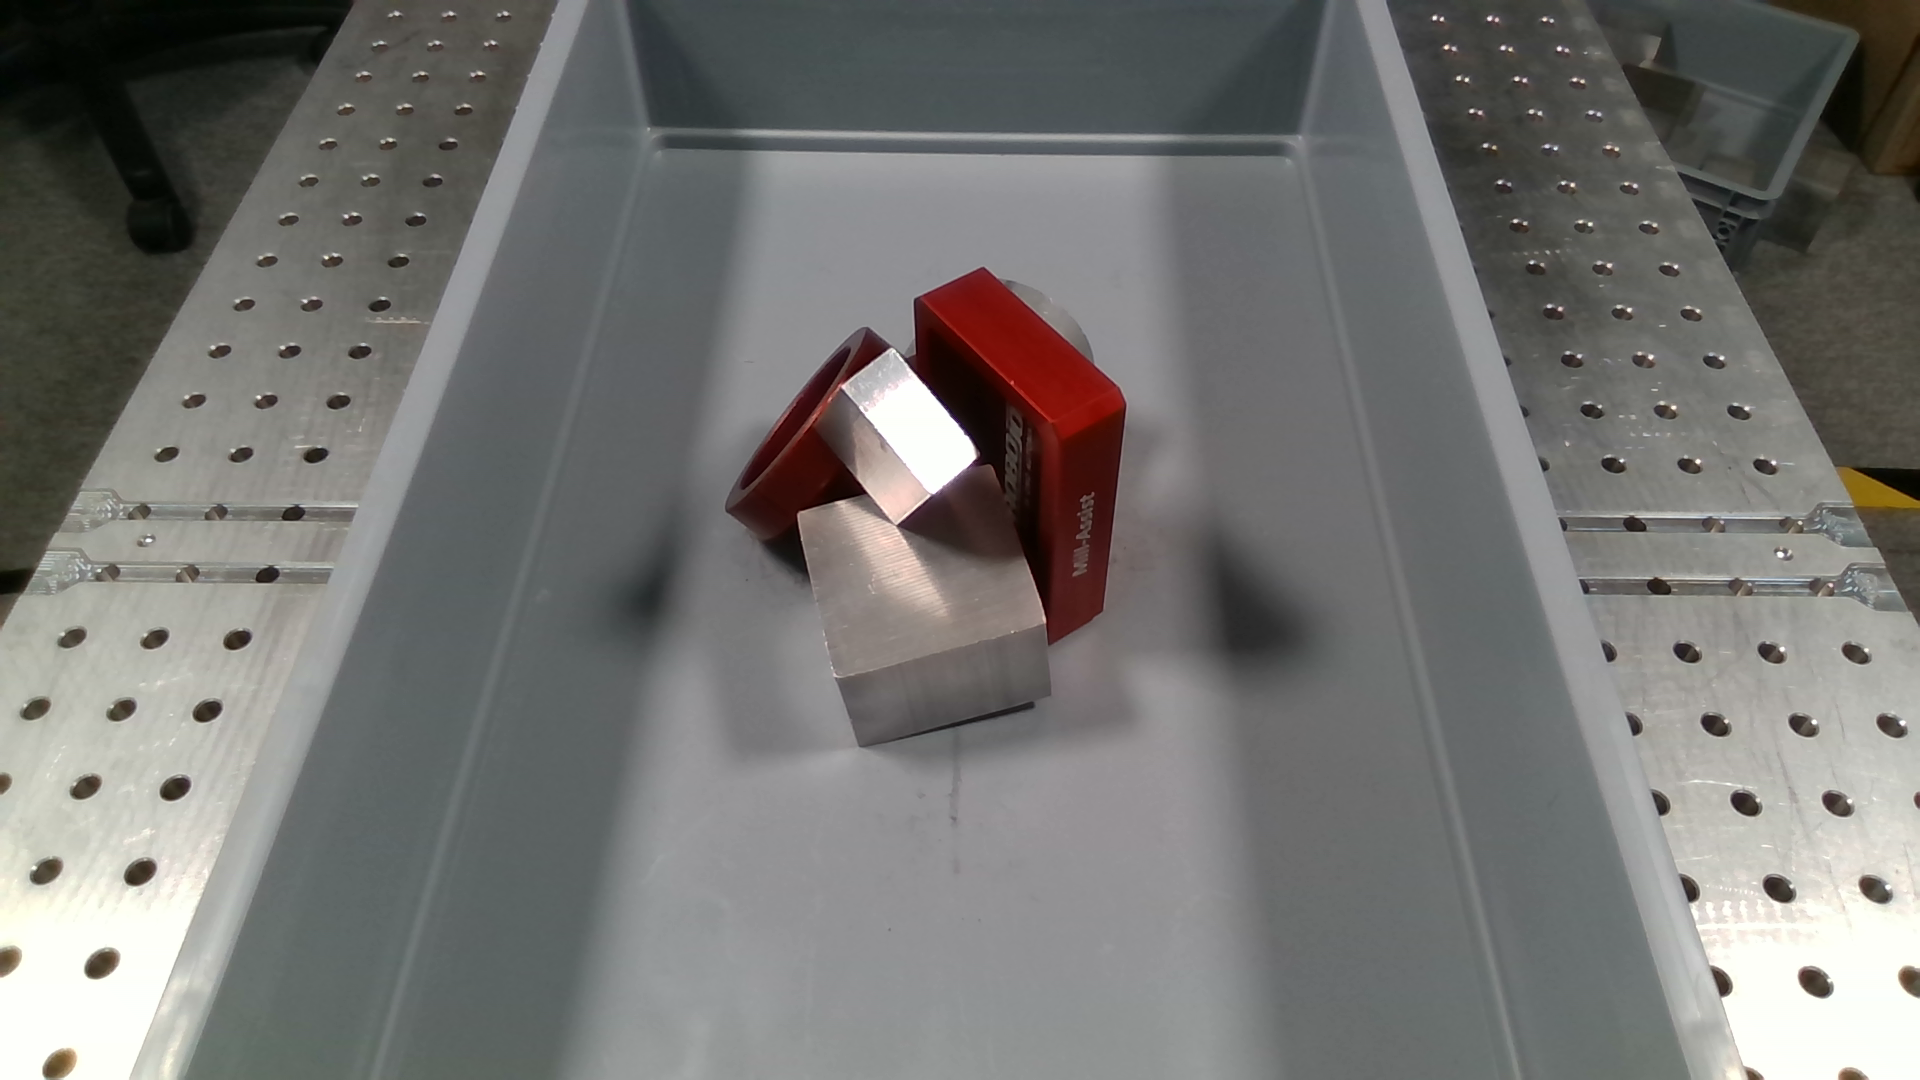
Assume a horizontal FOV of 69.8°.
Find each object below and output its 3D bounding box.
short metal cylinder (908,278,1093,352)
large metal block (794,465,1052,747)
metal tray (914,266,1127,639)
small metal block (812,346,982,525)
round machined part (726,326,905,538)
[{"bbox_3d":[0.013,-0.068,0.606,0.080,0.080,0.050,17,52,14],"label":"short metal cylinder"},{"bbox_3d":[-0.015,0.025,0.539,0.080,0.050,0.080,-14,51,-6],"label":"large metal block"},{"bbox_3d":[0.021,-0.030,0.542,0.030,0.130,0.090,-29,56,-21],"label":"metal tray"},{"bbox_3d":[-0.025,-0.038,0.511,0.025,0.050,0.050,-41,92,-21],"label":"small metal block"},{"bbox_3d":[-0.054,-0.039,0.583,0.042,0.098,0.098,38,51,-15],"label":"round machined part"}]
